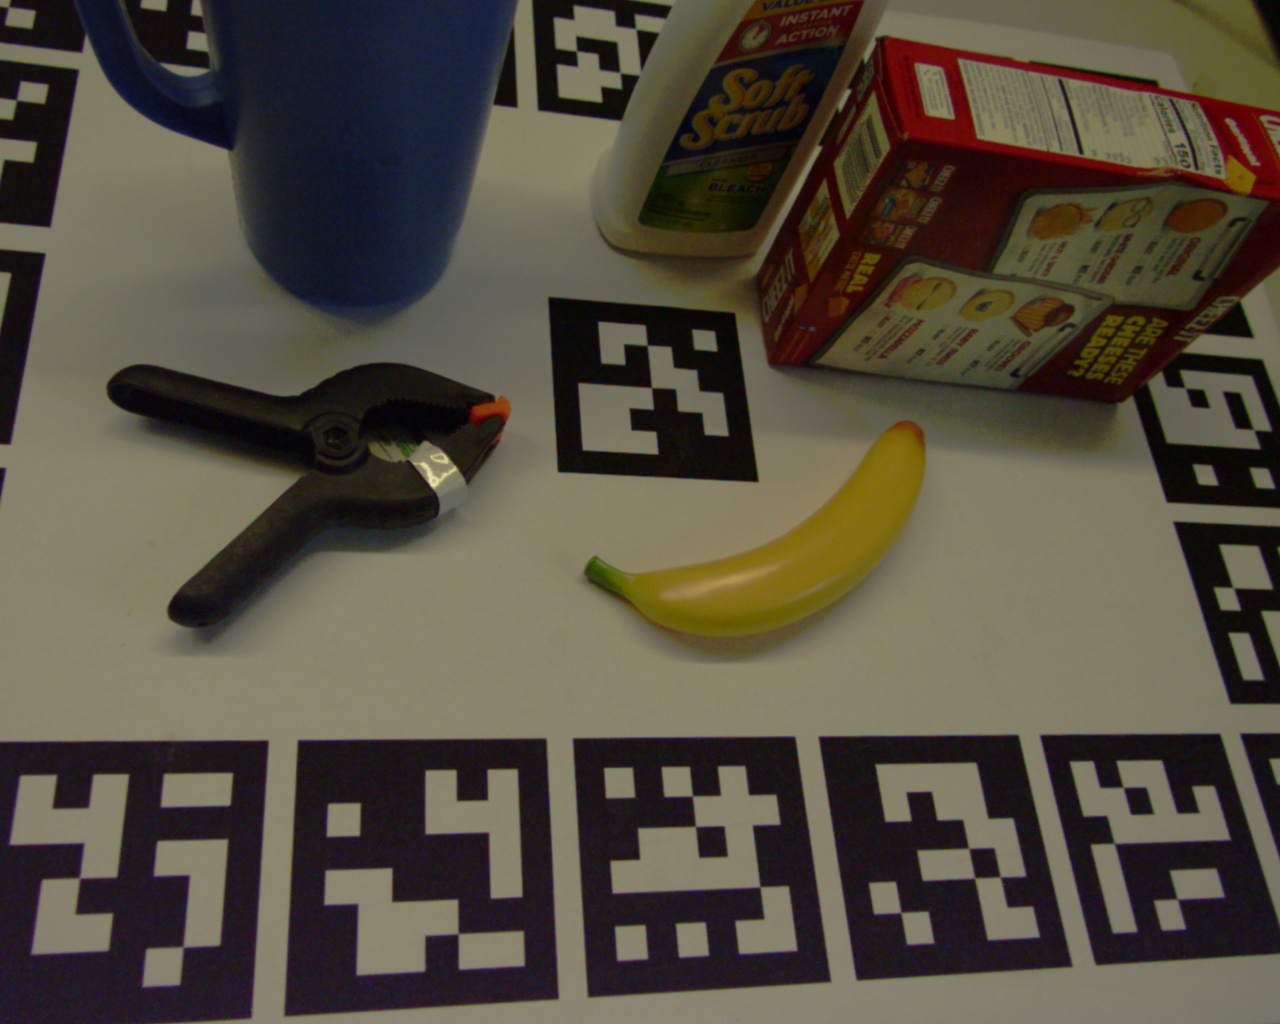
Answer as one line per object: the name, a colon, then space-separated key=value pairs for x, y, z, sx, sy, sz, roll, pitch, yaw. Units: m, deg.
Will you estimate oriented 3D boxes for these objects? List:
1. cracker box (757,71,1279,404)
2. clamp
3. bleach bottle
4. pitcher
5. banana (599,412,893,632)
cracker box: x=0.189 y=-0.136 z=0.598 sx=0.212 sy=0.164 sz=0.072 roll=2 pitch=60 yaw=-12
clamp: x=-0.138 y=-0.021 z=0.540 sx=0.163 sy=0.037 sz=0.122 roll=-14 pitch=66 yaw=-23
bleach bottle: x=0.040 y=-0.219 z=0.571 sx=0.102 sy=0.251 sz=0.068 roll=1 pitch=62 yaw=-15
pitcher: x=-0.131 y=-0.196 z=0.490 sx=0.187 sy=0.243 sz=0.134 roll=-16 pitch=68 yaw=-25
banana: x=0.074 y=0.008 z=0.589 sx=0.196 sy=0.039 sz=0.074 roll=-33 pitch=75 yaw=-27
